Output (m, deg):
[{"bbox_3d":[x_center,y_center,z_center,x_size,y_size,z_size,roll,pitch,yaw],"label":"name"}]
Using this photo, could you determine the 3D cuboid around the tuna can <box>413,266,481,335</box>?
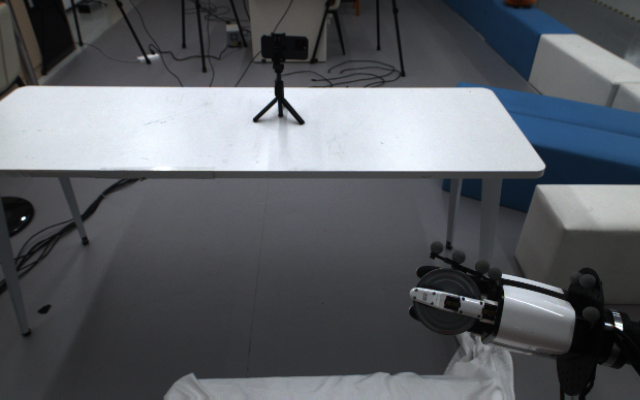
[{"bbox_3d":[0.169,0.130,0.636,0.085,0.085,0.034,14,-7,16],"label":"tuna can"}]
